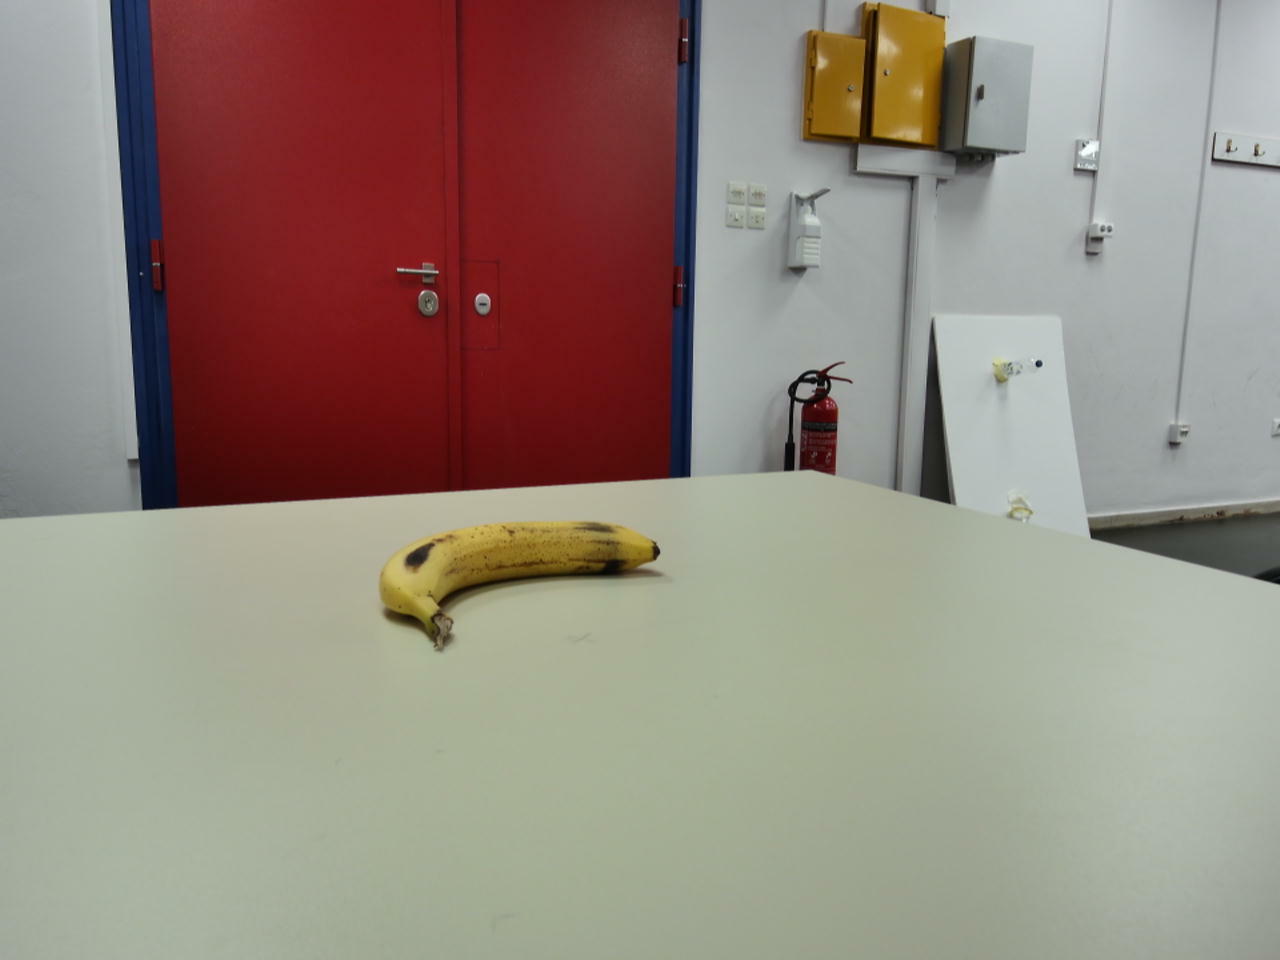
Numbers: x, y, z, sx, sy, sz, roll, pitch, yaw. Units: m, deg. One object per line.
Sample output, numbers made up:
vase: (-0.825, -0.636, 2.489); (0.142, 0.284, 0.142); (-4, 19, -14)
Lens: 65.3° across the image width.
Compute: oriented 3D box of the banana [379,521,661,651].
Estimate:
banana: (-0.079, 0.050, 0.592); (0.097, 0.038, 0.186); (6, 10, 37)
